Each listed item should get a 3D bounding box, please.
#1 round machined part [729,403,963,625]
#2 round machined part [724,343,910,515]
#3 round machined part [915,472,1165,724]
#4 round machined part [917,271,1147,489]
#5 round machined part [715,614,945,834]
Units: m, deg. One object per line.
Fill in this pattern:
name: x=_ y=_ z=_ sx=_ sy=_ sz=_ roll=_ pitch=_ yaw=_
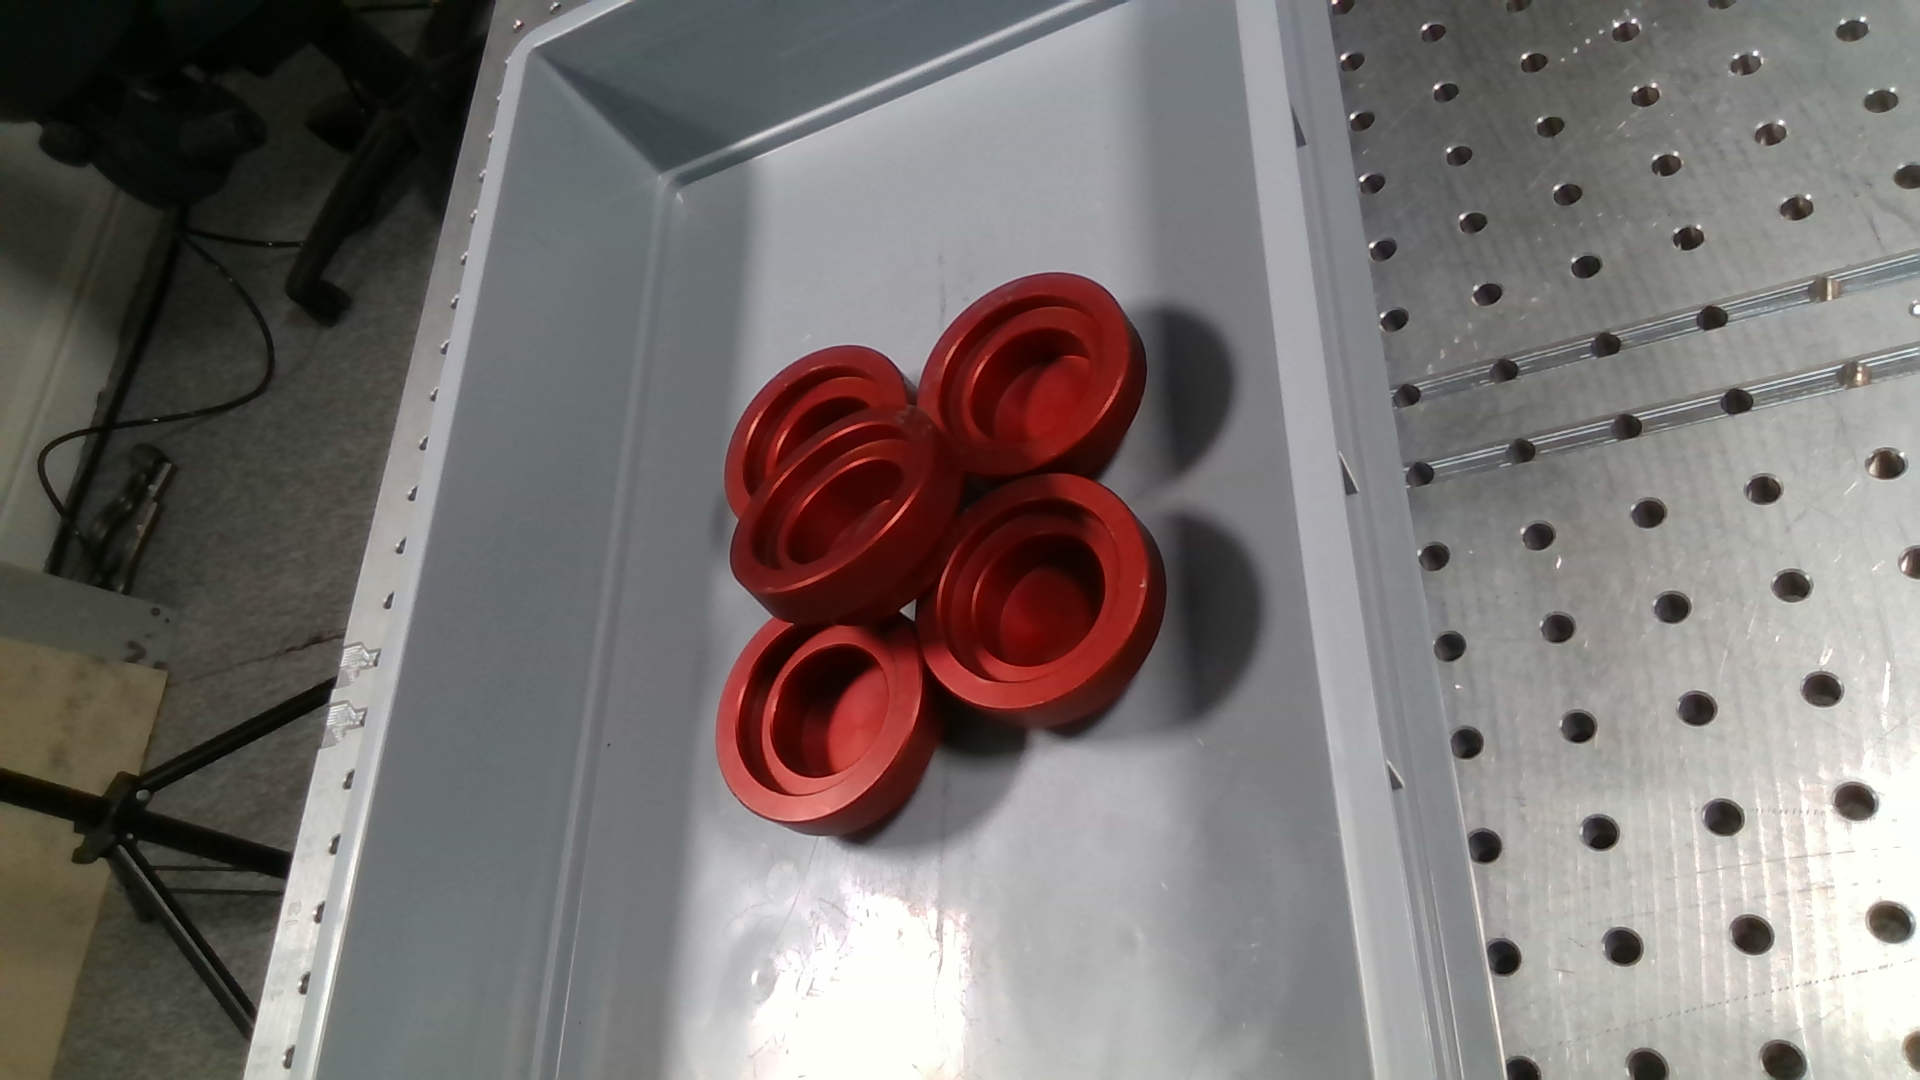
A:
round machined part: x=-0.040 y=-0.005 z=0.545 sx=0.098 sy=0.042 sz=0.098 roll=-25 pitch=36 yaw=20
round machined part: x=-0.056 y=-0.037 z=0.627 sx=0.098 sy=0.042 sz=0.098 roll=-14 pitch=59 yaw=25
round machined part: x=0.035 y=0.026 z=0.538 sx=0.098 sy=0.042 sz=0.098 roll=-14 pitch=59 yaw=25
round machined part: x=0.034 y=-0.061 z=0.585 sx=0.098 sy=0.042 sz=0.098 roll=-14 pitch=59 yaw=25
round machined part: x=-0.049 y=0.072 z=0.564 sx=0.098 sy=0.042 sz=0.098 roll=-14 pitch=59 yaw=25
